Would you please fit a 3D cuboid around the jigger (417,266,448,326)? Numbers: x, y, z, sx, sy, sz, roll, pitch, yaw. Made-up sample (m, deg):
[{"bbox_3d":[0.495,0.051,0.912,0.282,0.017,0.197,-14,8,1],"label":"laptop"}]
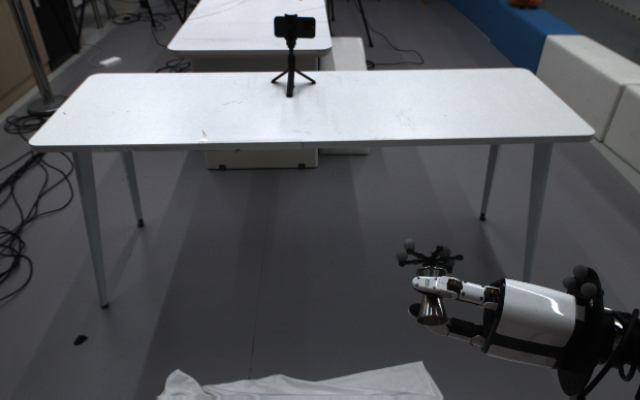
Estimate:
[{"bbox_3d":[0.148,0.125,0.643,0.043,0.043,0.071,4,61,3],"label":"jigger"}]
